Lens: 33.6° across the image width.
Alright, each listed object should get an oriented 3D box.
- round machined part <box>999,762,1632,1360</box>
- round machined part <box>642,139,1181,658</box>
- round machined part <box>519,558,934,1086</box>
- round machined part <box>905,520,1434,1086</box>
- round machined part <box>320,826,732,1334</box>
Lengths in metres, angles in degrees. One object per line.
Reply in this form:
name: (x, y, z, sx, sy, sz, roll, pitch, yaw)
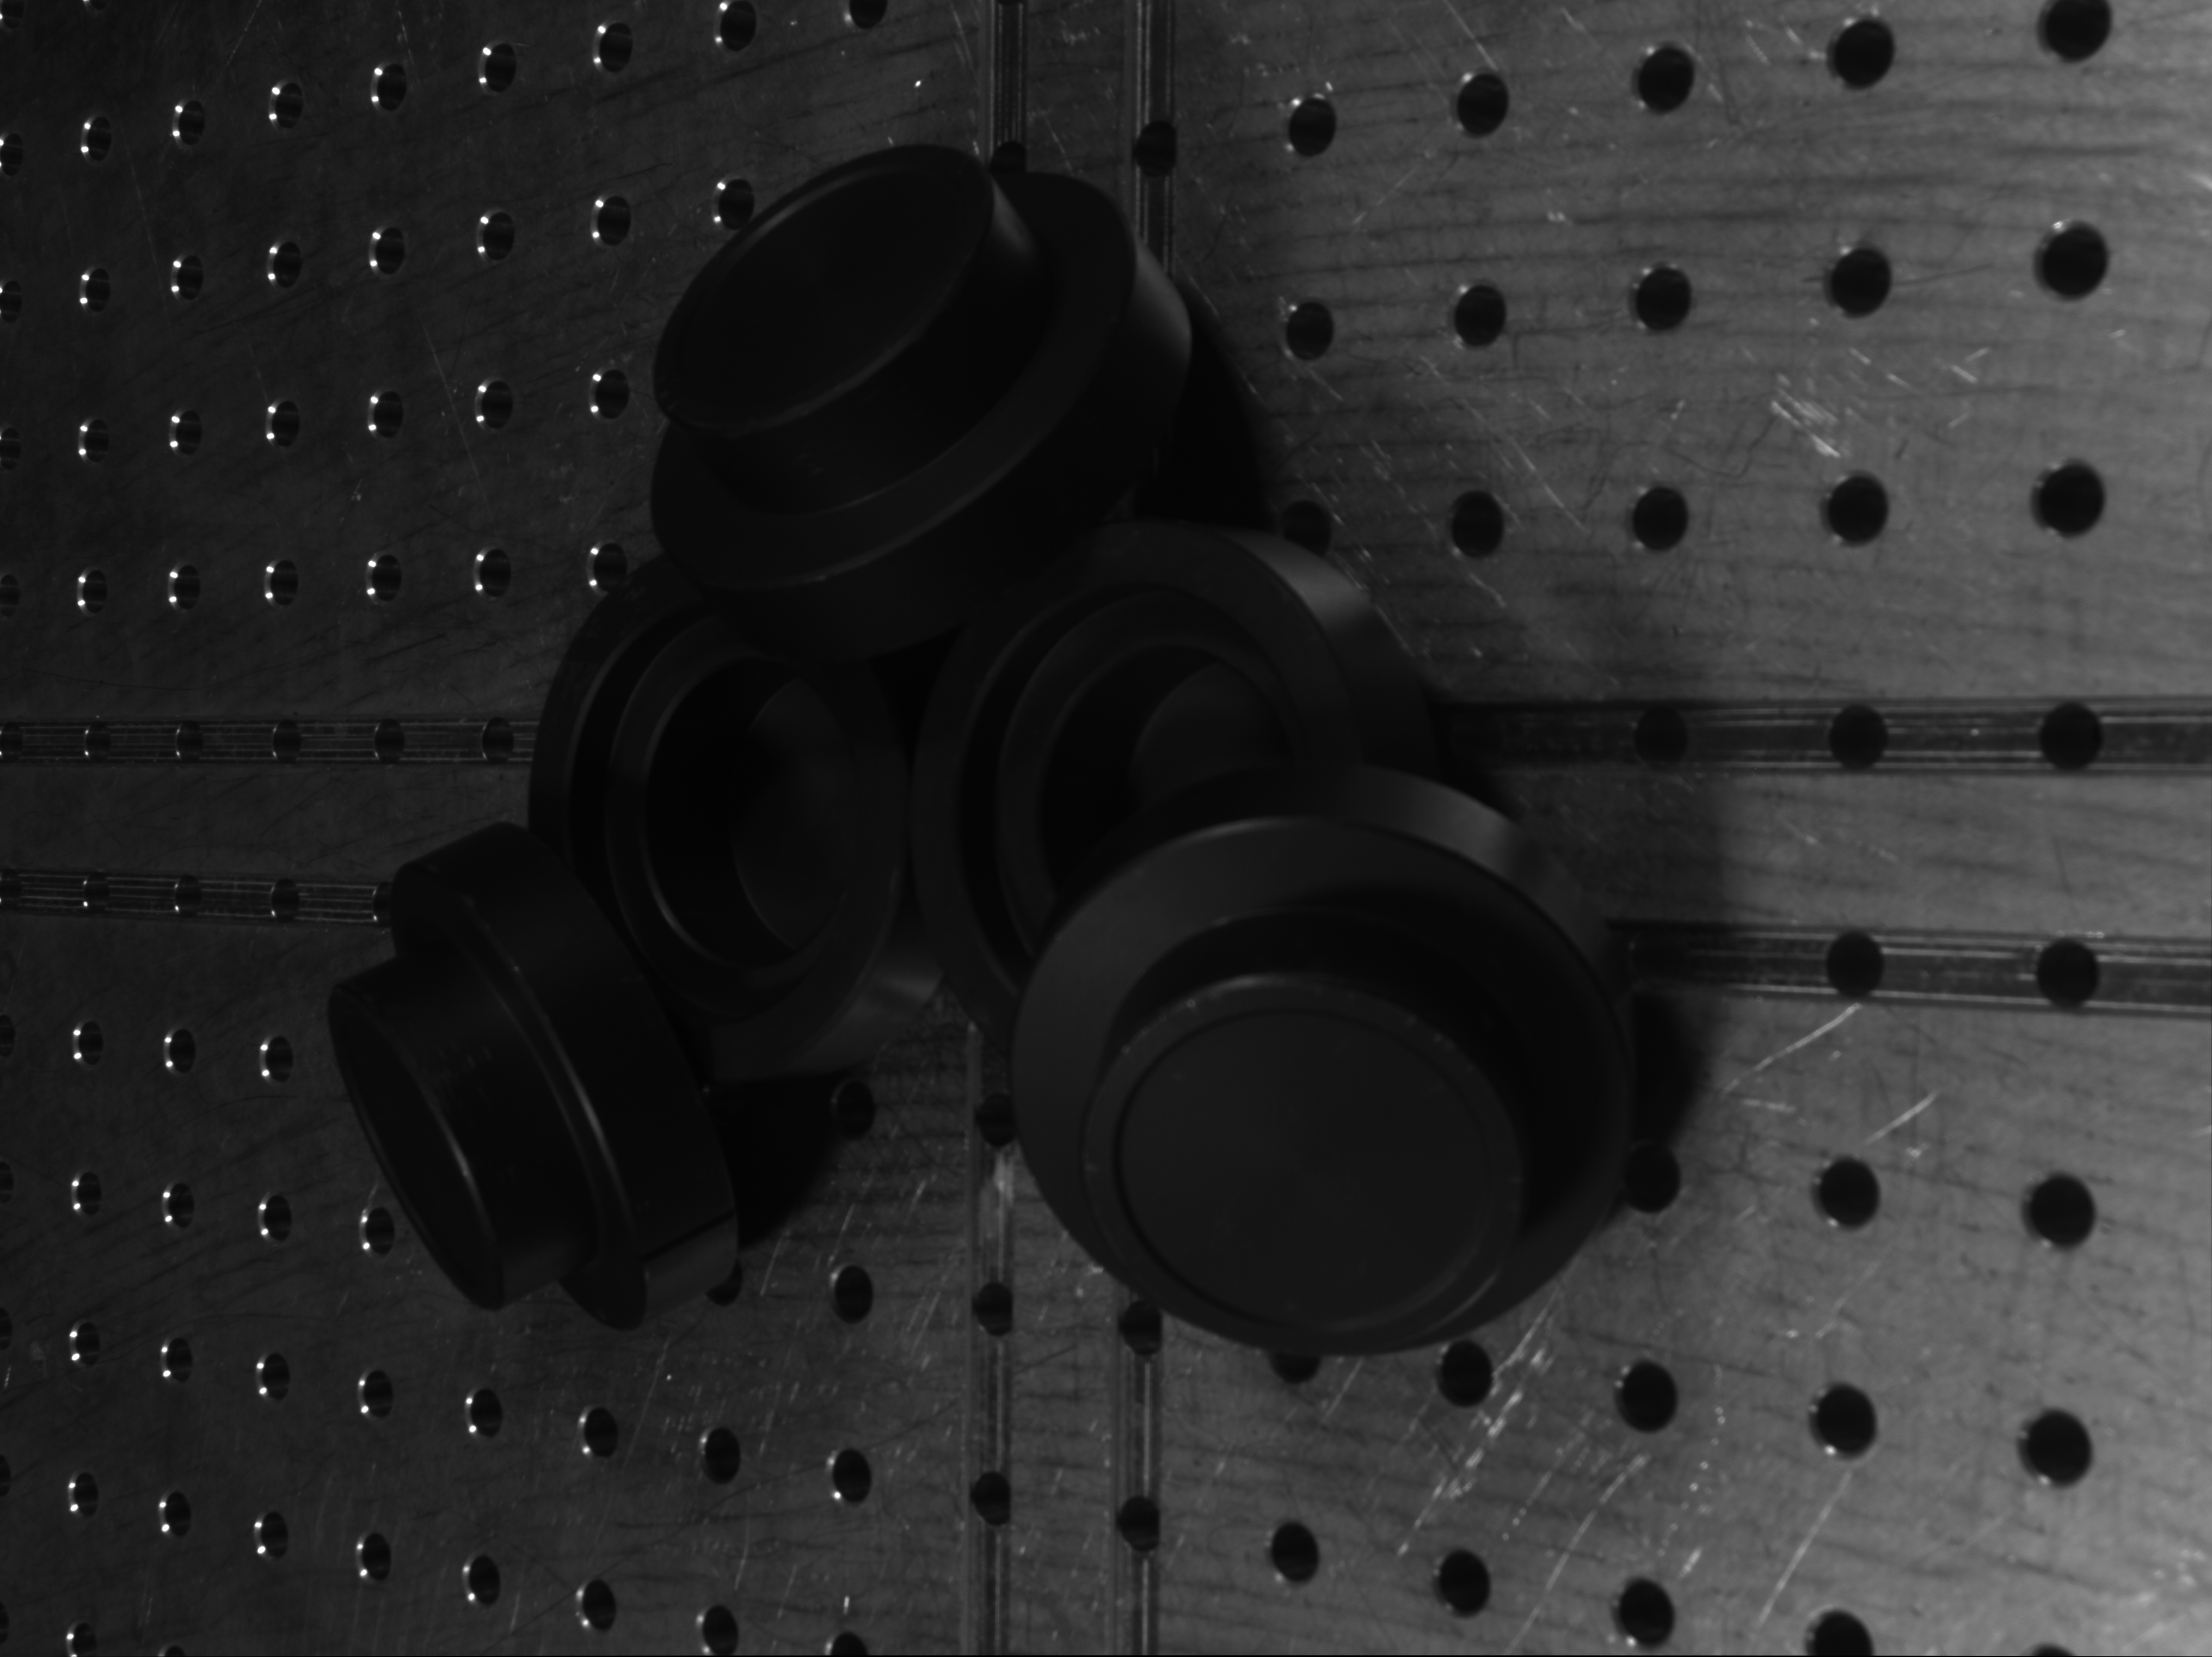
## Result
round machined part: (0.031, 0.042, 0.568, 0.098, 0.042, 0.098, 4, 117, 9)
round machined part: (-0.040, -0.080, 0.628, 0.098, 0.042, 0.098, -22, 40, 21)
round machined part: (-0.060, -0.002, 0.677, 0.098, 0.042, 0.098, 0, 90, 39)
round machined part: (0.016, -0.001, 0.615, 0.098, 0.042, 0.098, 0, 90, 39)
round machined part: (-0.114, 0.052, 0.691, 0.098, 0.042, 0.098, 46, 151, 35)
